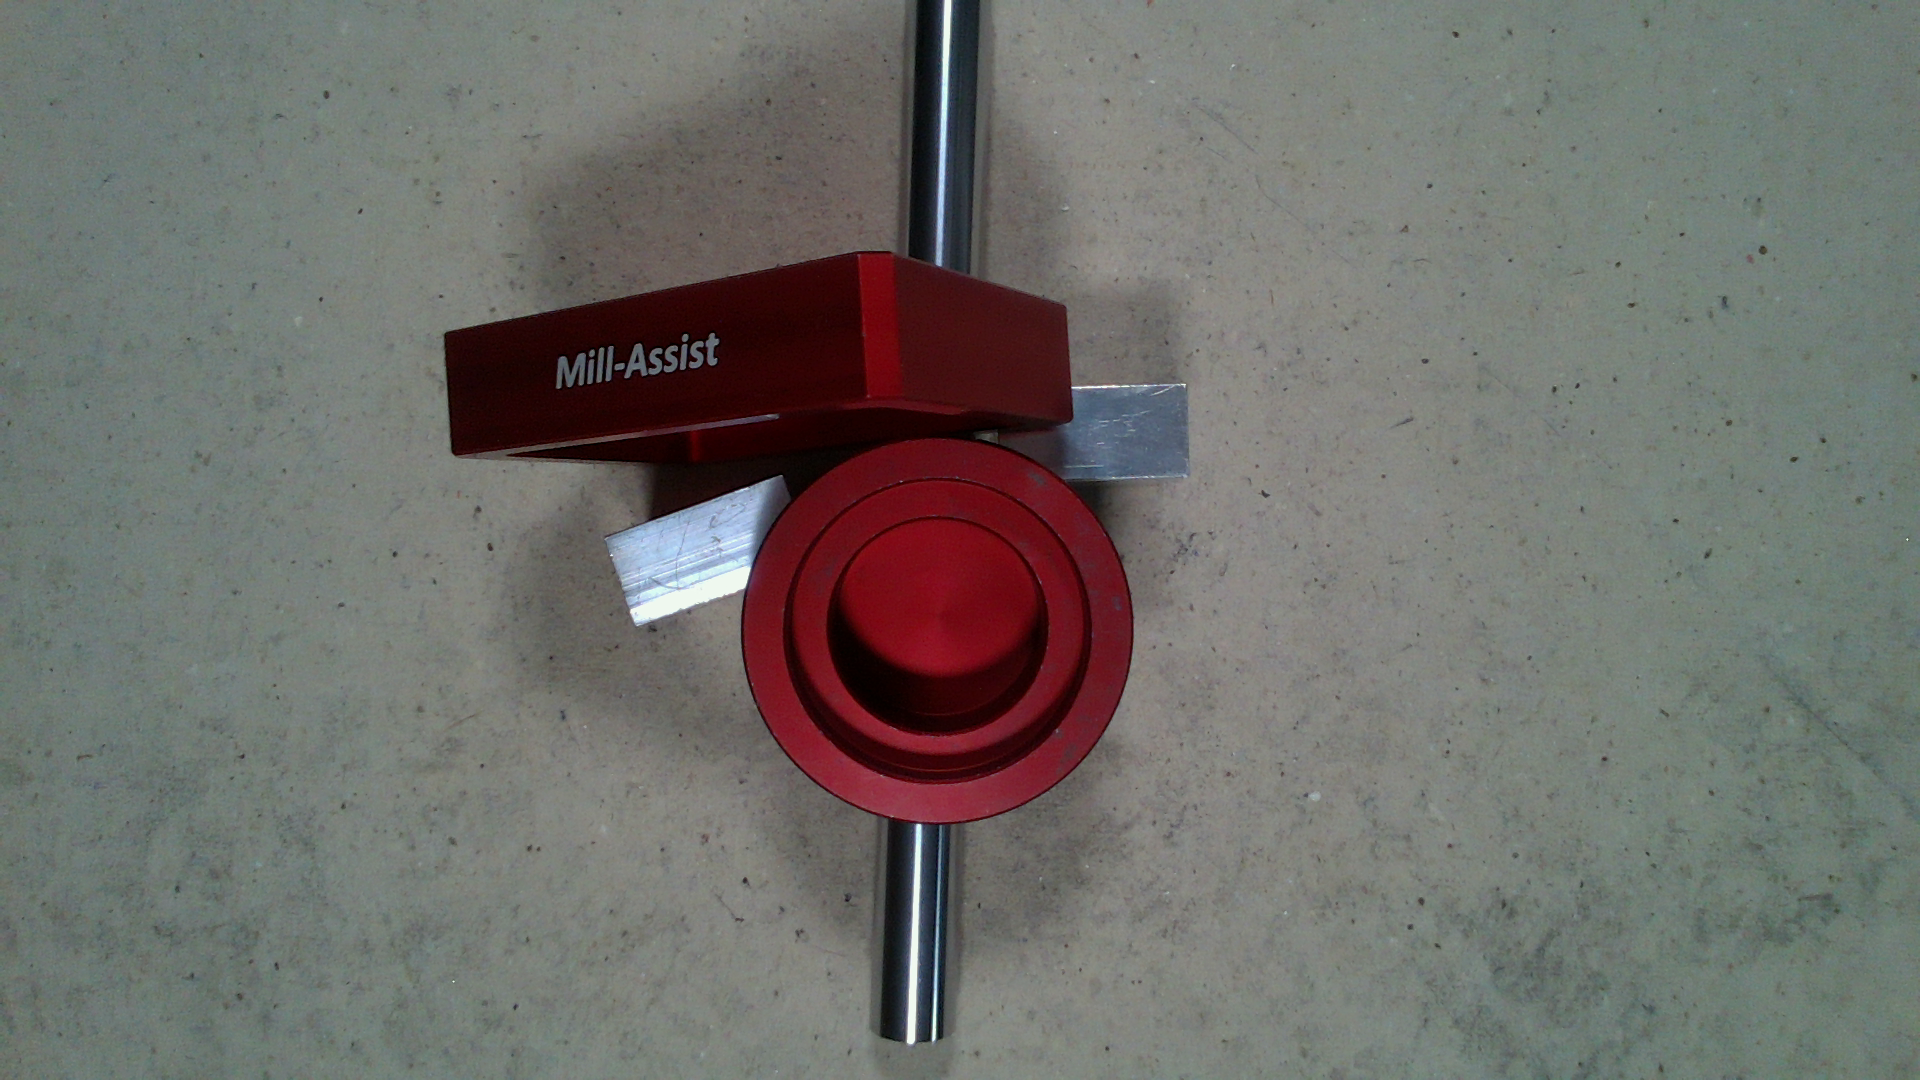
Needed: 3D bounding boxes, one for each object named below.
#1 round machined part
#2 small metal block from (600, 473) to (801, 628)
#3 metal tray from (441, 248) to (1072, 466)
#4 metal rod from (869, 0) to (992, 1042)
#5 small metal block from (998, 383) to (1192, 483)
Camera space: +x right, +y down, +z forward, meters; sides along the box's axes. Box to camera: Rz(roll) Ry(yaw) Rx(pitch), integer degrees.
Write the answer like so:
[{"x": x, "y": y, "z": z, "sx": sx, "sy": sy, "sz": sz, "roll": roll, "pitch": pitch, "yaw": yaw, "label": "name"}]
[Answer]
[{"x": -0.006, "y": 0.022, "z": 0.359, "sx": 0.098, "sy": 0.042, "sz": 0.098, "roll": 0, "pitch": 94, "yaw": -2, "label": "round machined part"}, {"x": -0.066, "y": 0.003, "z": 0.383, "sx": 0.050, "sy": 0.050, "sz": 0.025, "roll": -19, "pitch": 90, "yaw": 0, "label": "small metal block"}, {"x": -0.049, "y": -0.040, "z": 0.339, "sx": 0.130, "sy": 0.090, "sz": 0.030, "roll": -4, "pitch": 89, "yaw": 29, "label": "metal tray"}, {"x": -0.008, "y": -0.010, "z": 0.395, "sx": 0.025, "sy": 0.025, "sz": 0.300, "roll": 2, "pitch": 90, "yaw": 0, "label": "metal rod"}, {"x": 0.035, "y": -0.028, "z": 0.383, "sx": 0.050, "sy": 0.050, "sz": 0.025, "roll": -2, "pitch": 90, "yaw": 0, "label": "small metal block"}]
